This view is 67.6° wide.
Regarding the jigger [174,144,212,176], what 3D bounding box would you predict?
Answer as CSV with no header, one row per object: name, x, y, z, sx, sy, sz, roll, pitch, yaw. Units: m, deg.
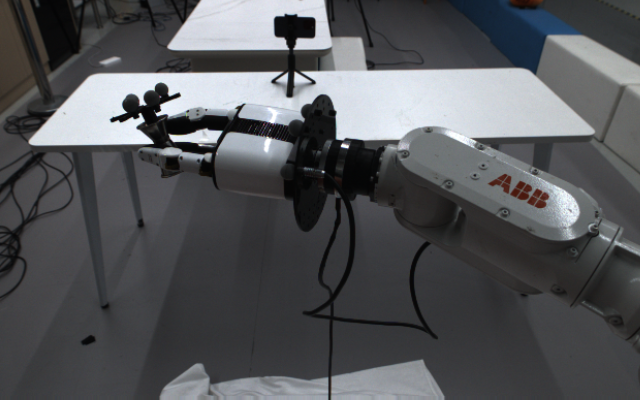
jigger,-0.190,-0.068,0.606,0.043,0.071,0.043,-18,24,9
